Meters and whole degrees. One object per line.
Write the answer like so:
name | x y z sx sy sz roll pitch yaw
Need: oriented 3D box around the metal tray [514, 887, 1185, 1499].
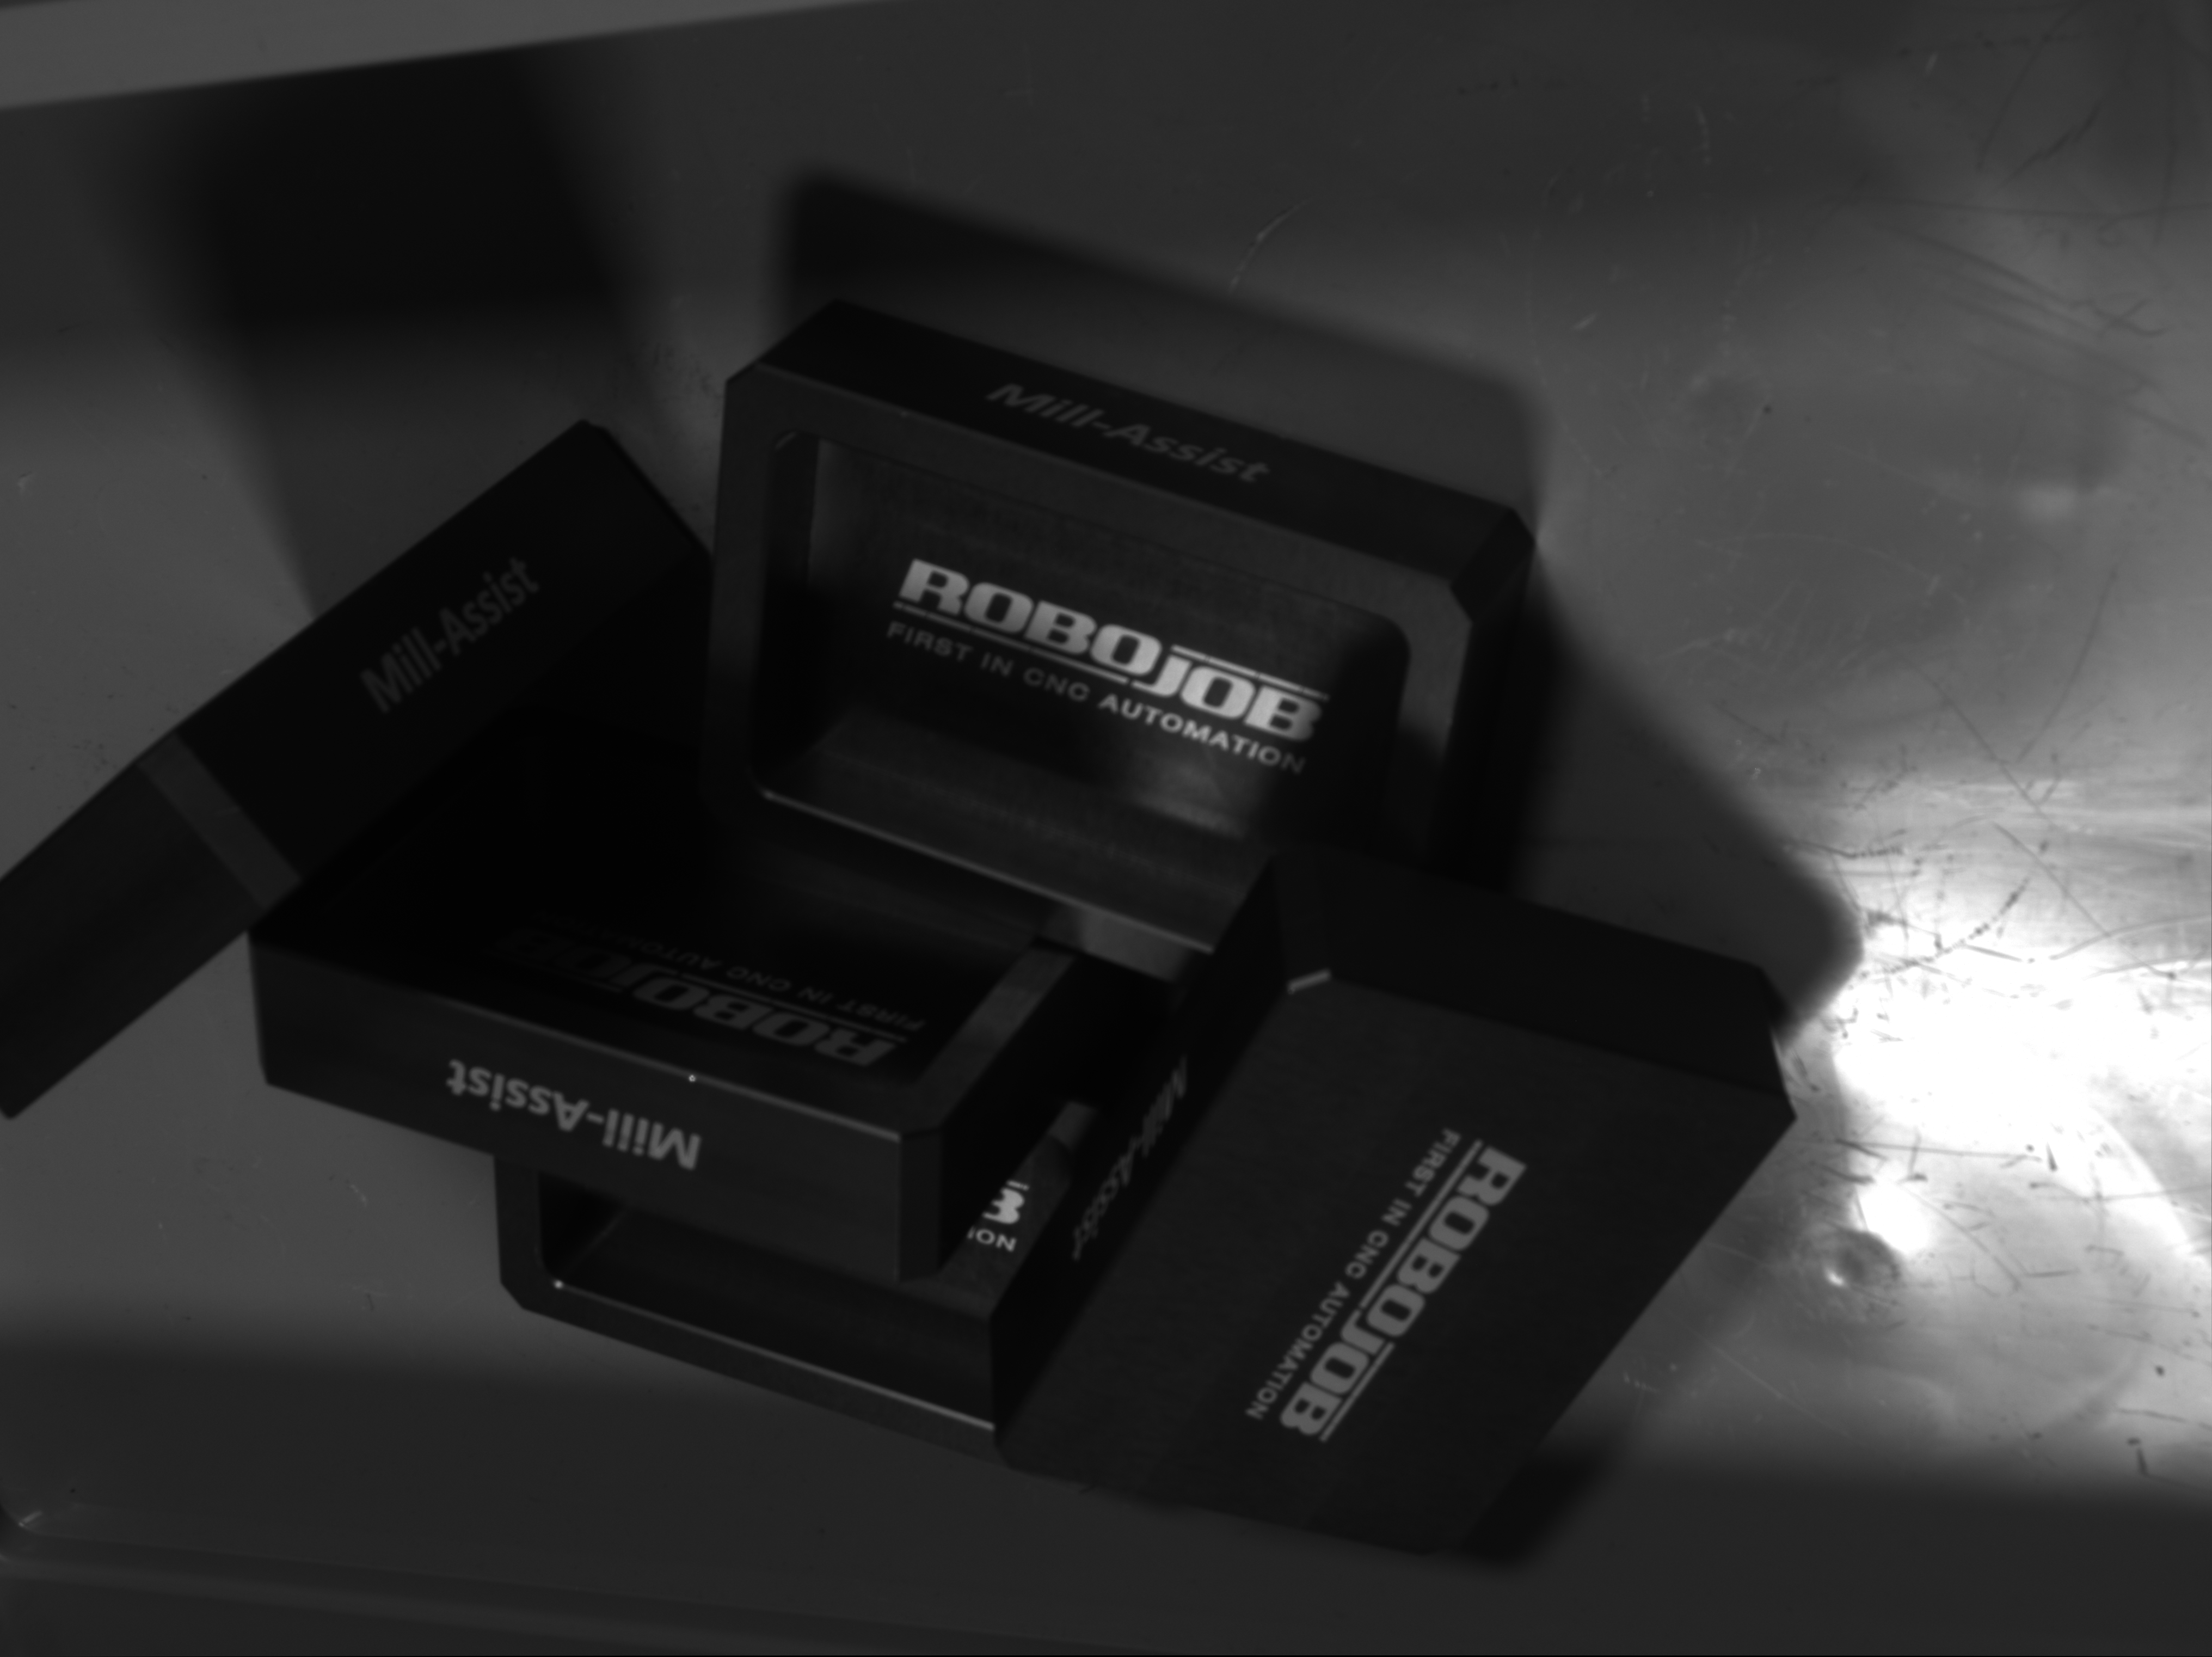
metal tray | -0.048 0.066 0.688 0.130 0.030 0.090 15 124 18

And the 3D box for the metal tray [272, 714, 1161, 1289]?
metal tray | -0.066 0.026 0.636 0.130 0.090 0.030 15 124 18

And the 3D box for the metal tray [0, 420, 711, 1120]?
metal tray | -0.132 -0.012 0.621 0.090 0.130 0.030 -34 100 37

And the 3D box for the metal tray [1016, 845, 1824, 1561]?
metal tray | 0.049 0.067 0.617 0.090 0.030 0.130 16 130 -17

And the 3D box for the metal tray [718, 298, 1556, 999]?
metal tray | 0.002 -0.026 0.610 0.130 0.030 0.090 19 125 15
